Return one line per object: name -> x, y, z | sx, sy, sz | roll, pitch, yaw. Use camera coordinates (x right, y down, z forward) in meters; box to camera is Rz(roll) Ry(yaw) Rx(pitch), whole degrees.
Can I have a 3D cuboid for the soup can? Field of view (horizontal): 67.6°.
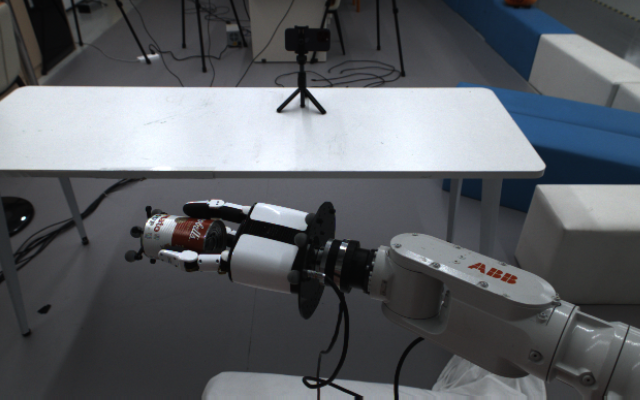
soup can -> -0.192, 0.058, 0.694 | 0.101, 0.067, 0.067 | 5, 34, 14
